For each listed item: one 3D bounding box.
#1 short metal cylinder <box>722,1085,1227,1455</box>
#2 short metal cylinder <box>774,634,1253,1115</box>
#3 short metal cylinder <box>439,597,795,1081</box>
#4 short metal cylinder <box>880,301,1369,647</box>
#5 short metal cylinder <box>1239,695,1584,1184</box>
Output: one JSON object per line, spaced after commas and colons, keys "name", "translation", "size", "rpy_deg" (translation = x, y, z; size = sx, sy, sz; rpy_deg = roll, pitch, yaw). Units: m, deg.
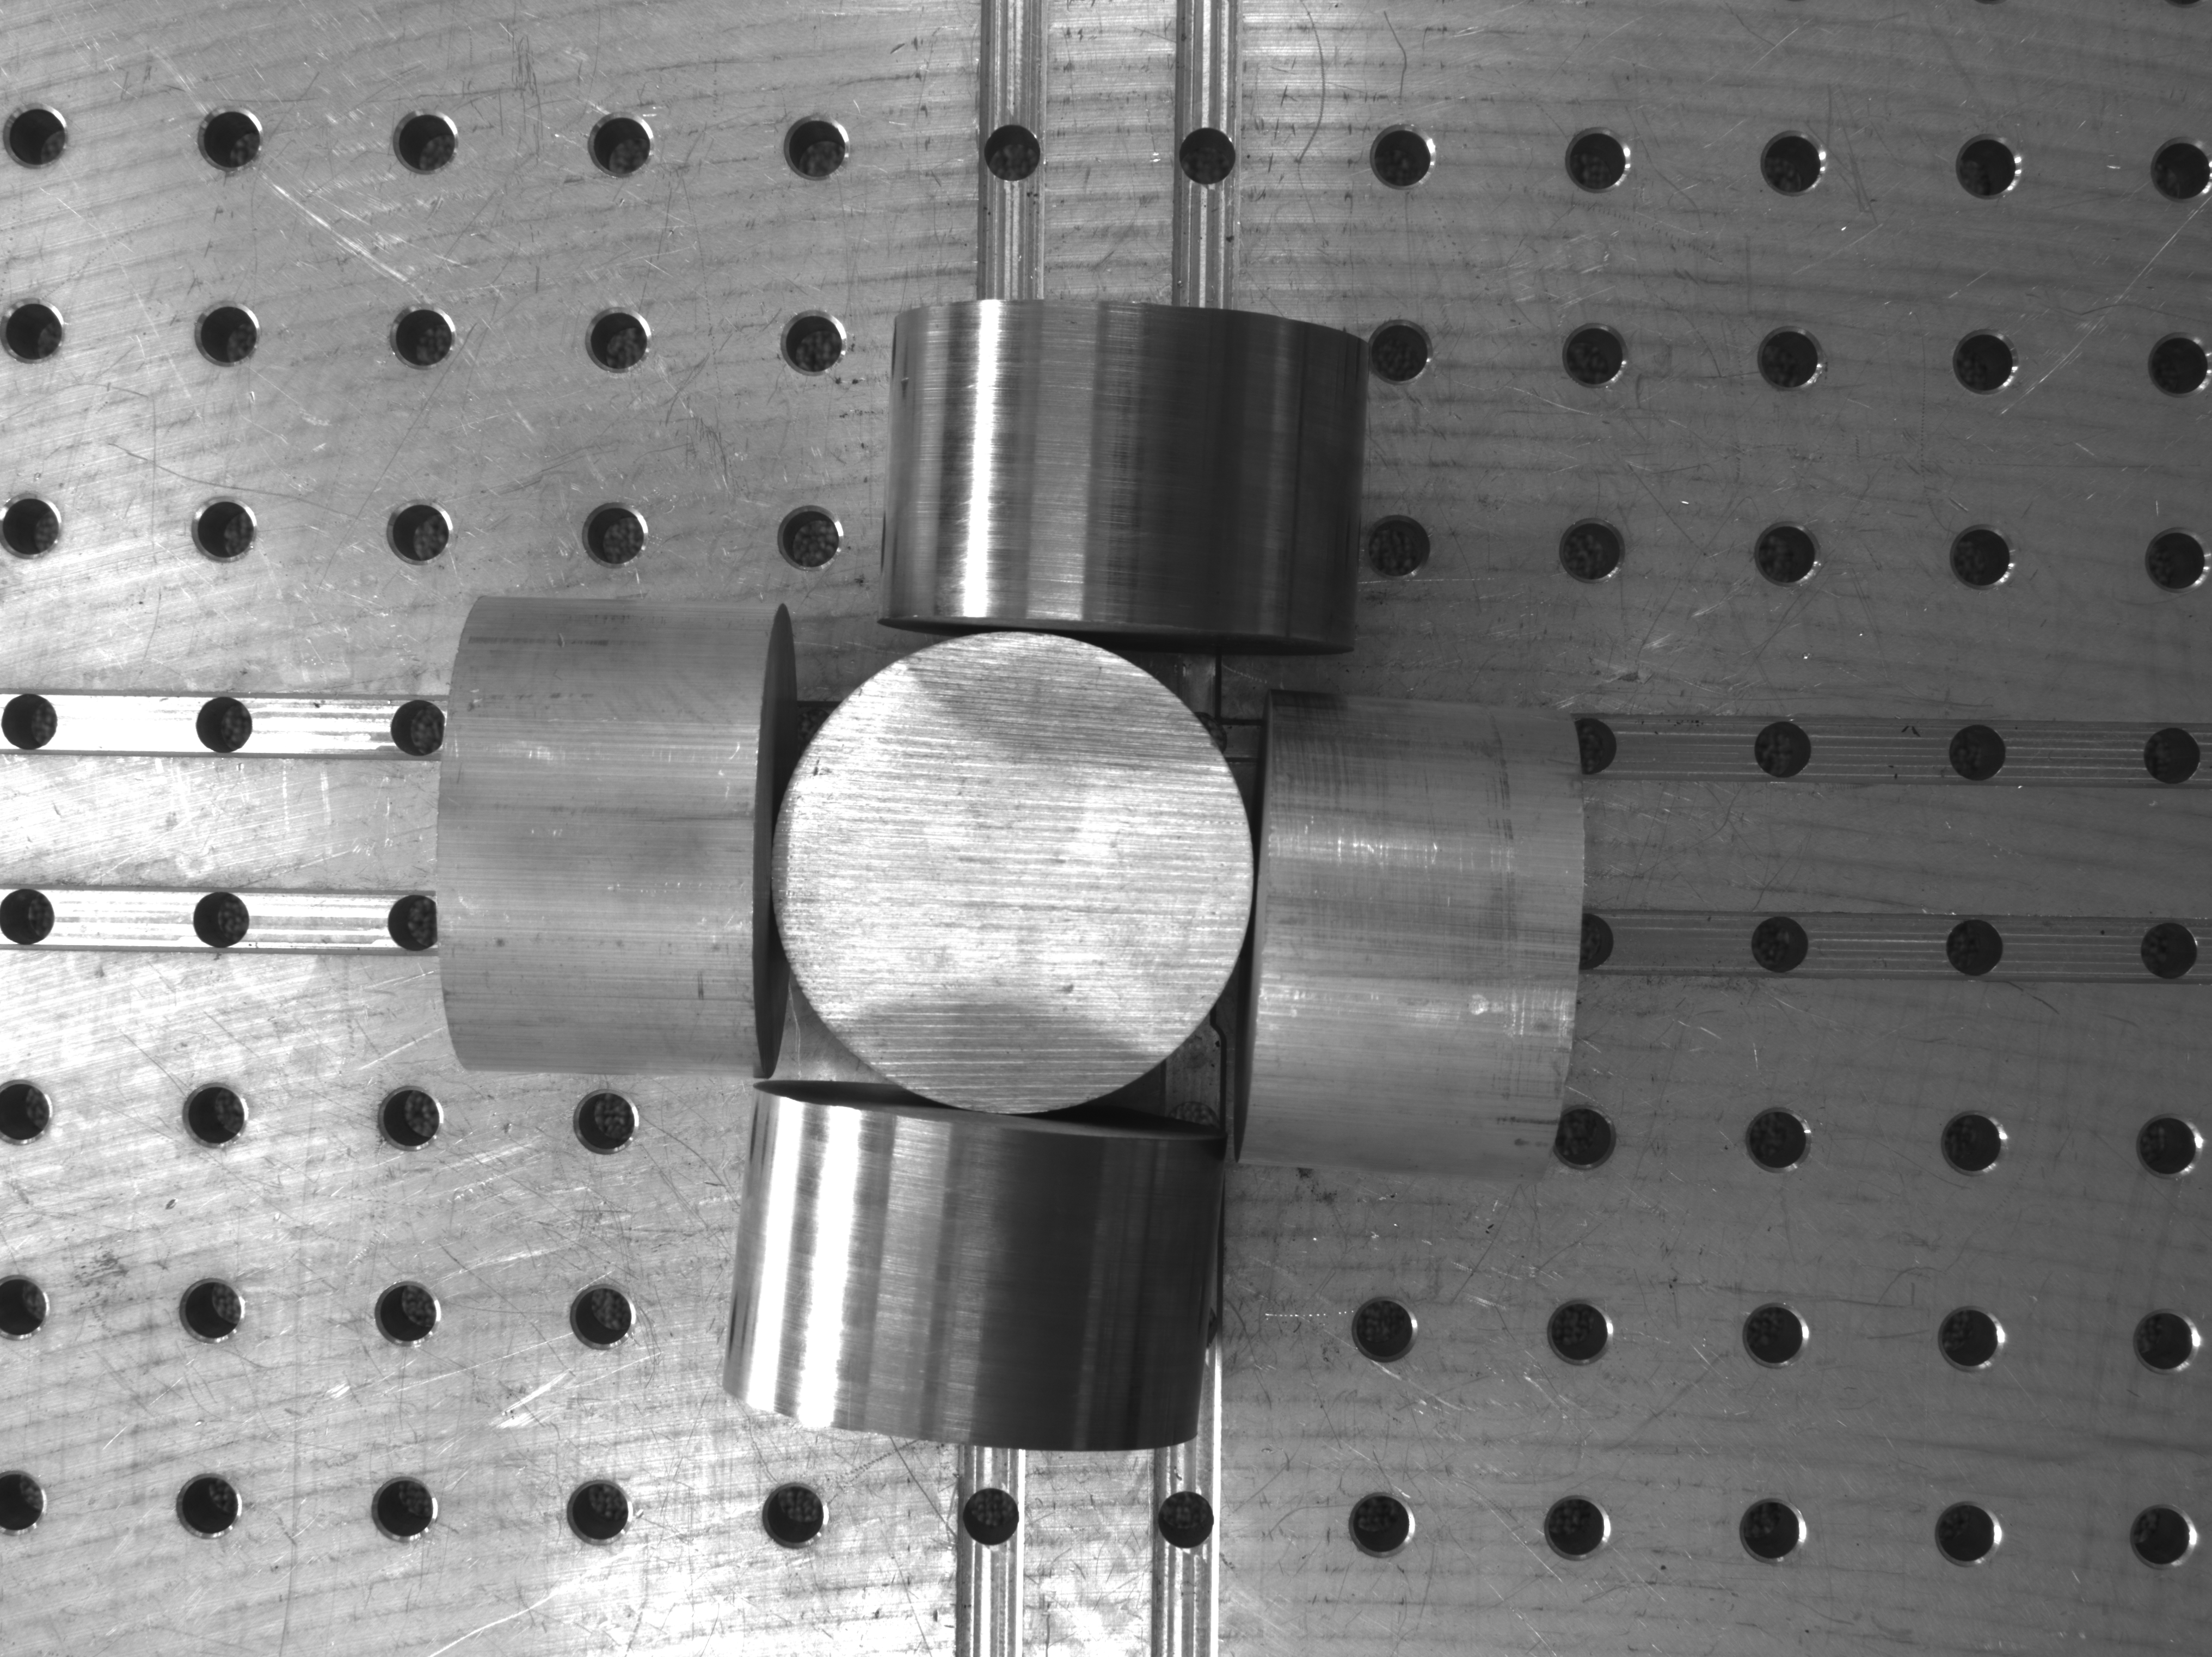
{"name": "short metal cylinder", "translation": [-0.022, 0.073, 0.619], "size": [0.080, 0.080, 0.050], "rpy_deg": [6, 89, 0]}
{"name": "short metal cylinder", "translation": [-0.015, 0.008, 0.636], "size": [0.080, 0.050, 0.080], "rpy_deg": [0, 90, -1]}
{"name": "short metal cylinder", "translation": [-0.080, 0.002, 0.620], "size": [0.050, 0.080, 0.080], "rpy_deg": [2, 90, -1]}
{"name": "short metal cylinder", "translation": [0.003, -0.057, 0.620], "size": [0.080, 0.080, 0.050], "rpy_deg": [3, 89, 0]}
{"name": "short metal cylinder", "translation": [0.050, 0.019, 0.621], "size": [0.050, 0.080, 0.080], "rpy_deg": [4, 90, 0]}
